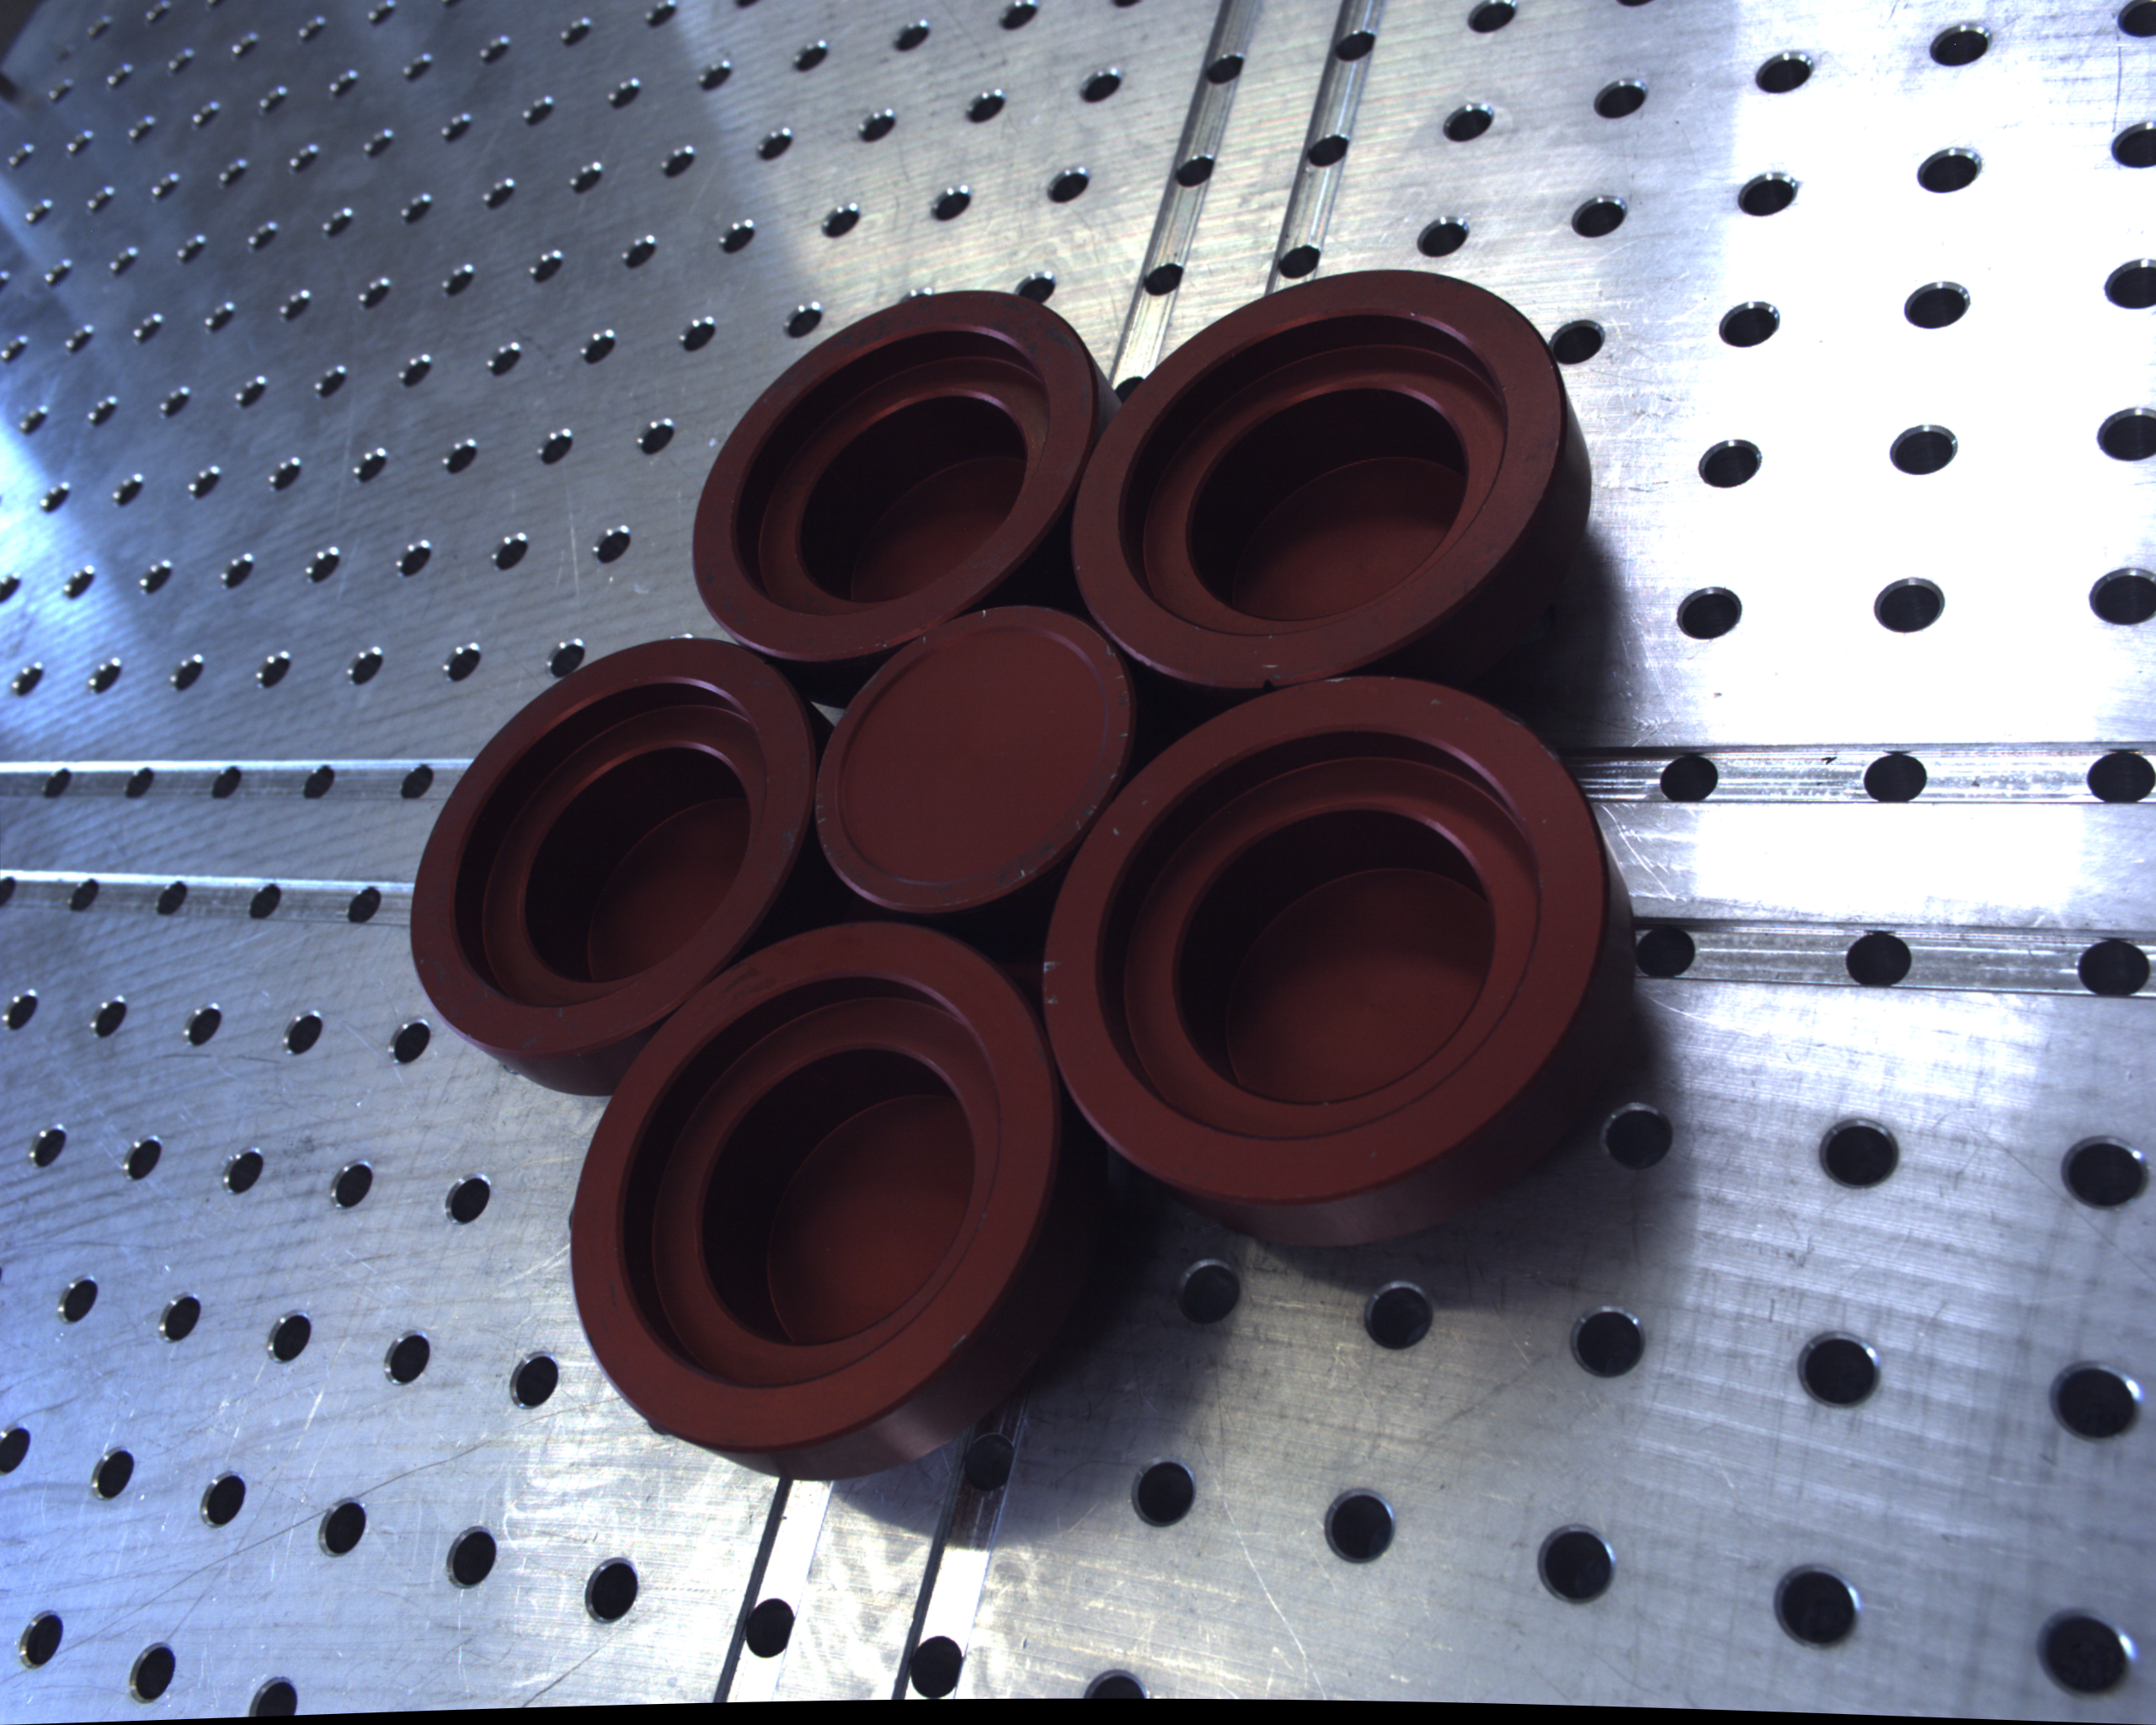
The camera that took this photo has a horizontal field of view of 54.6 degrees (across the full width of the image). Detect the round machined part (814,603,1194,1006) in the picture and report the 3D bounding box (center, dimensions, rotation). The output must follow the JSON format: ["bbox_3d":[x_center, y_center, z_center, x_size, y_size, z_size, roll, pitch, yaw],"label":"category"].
[{"bbox_3d":[-0.012,-0.011,0.411,0.098,0.042,0.098,-13,56,21],"label":"round machined part"}]

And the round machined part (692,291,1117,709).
[{"bbox_3d":[-0.032,-0.075,0.461,0.098,0.042,0.098,-13,56,21],"label":"round machined part"}]

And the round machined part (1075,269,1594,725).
[{"bbox_3d":[0.052,-0.065,0.410,0.098,0.042,0.098,-13,56,21],"label":"round machined part"}]

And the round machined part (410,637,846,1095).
[{"bbox_3d":[-0.088,0.004,0.441,0.098,0.042,0.098,-13,56,21],"label":"round machined part"}]

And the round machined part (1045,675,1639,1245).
[{"bbox_3d":[0.047,0.020,0.361,0.098,0.042,0.098,-13,56,21],"label":"round machined part"}]

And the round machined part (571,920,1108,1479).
[{"bbox_3d":[-0.039,0.063,0.379,0.098,0.042,0.098,-13,56,21],"label":"round machined part"}]
